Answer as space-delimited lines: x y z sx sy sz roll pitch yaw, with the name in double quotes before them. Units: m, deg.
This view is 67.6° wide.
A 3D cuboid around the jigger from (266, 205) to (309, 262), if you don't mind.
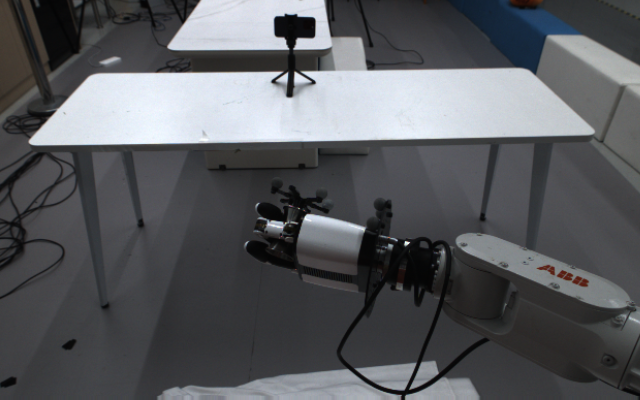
"jigger" -0.042 0.046 0.678 0.043 0.043 0.071 13 70 16
